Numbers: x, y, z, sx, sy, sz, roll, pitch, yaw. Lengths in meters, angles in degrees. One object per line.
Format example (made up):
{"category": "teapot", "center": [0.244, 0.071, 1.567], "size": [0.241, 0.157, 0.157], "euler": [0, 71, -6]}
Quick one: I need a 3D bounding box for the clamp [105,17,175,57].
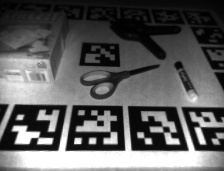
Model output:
{"category": "clamp", "center": [0.067, -0.162, 0.641], "size": [0.201, 0.037, 0.166], "euler": [23, 47, 17]}

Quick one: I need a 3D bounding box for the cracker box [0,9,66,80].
{"category": "cracker box", "center": [-0.213, -0.110, 0.528], "size": [0.164, 0.072, 0.212], "euler": [2, 46, -2]}

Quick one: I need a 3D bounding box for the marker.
{"category": "marker", "center": [0.162, -0.028, 0.508], "size": [0.020, 0.020, 0.120], "euler": [-2, 45, -5]}

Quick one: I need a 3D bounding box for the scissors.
{"category": "scissors", "center": [0.019, -0.032, 0.504], "size": [0.204, 0.016, 0.086], "euler": [-20, 49, -25]}
